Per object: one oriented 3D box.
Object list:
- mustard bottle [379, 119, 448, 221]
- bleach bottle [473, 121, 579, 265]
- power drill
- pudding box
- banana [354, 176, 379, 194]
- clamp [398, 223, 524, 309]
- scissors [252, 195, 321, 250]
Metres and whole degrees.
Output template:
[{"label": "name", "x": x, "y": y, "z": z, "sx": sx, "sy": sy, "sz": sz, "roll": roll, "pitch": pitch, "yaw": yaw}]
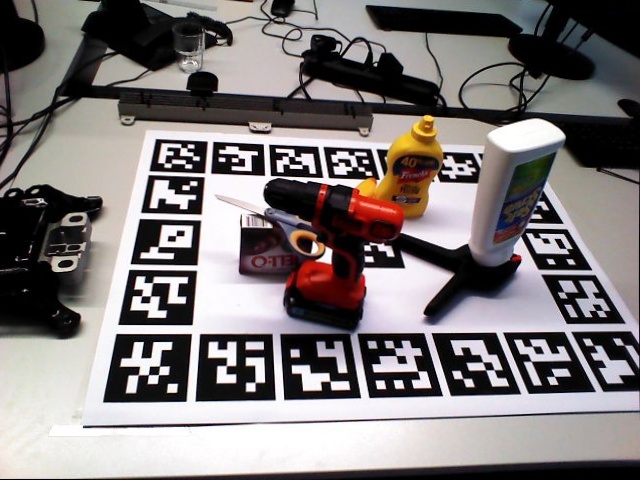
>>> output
[{"label": "mustard bottle", "x": 0.163, "y": -0.120, "z": 0.880, "sx": 0.096, "sy": 0.192, "sz": 0.058, "roll": 13, "pitch": 45, "yaw": 1}, {"label": "bleach bottle", "x": 0.287, "y": -0.049, "z": 0.764, "sx": 0.102, "sy": 0.252, "sz": 0.068, "roll": -17, "pitch": 47, "yaw": -15}, {"label": "power drill", "x": 0.002, "y": 0.009, "z": 0.680, "sx": 0.185, "sy": 0.188, "sz": 0.057, "roll": 10, "pitch": 38, "yaw": 4}, {"label": "pudding box", "x": -0.072, "y": 0.001, "z": 0.785, "sx": 0.114, "sy": 0.090, "sz": 0.038, "roll": 5, "pitch": 39, "yaw": -5}, {"label": "banana", "x": 0.047, "y": -0.088, "z": 0.922, "sx": 0.196, "sy": 0.039, "sz": 0.074, "roll": -31, "pitch": 41, "yaw": -33}, {"label": "clamp", "x": 0.240, "y": 0.034, "z": 0.823, "sx": 0.202, "sy": 0.037, "sz": 0.164, "roll": -2, "pitch": 48, "yaw": -14}, {"label": "scissors", "x": -0.073, "y": -0.049, "z": 0.743, "sx": 0.203, "sy": 0.016, "sz": 0.087, "roll": 23, "pitch": 50, "yaw": 6}]
